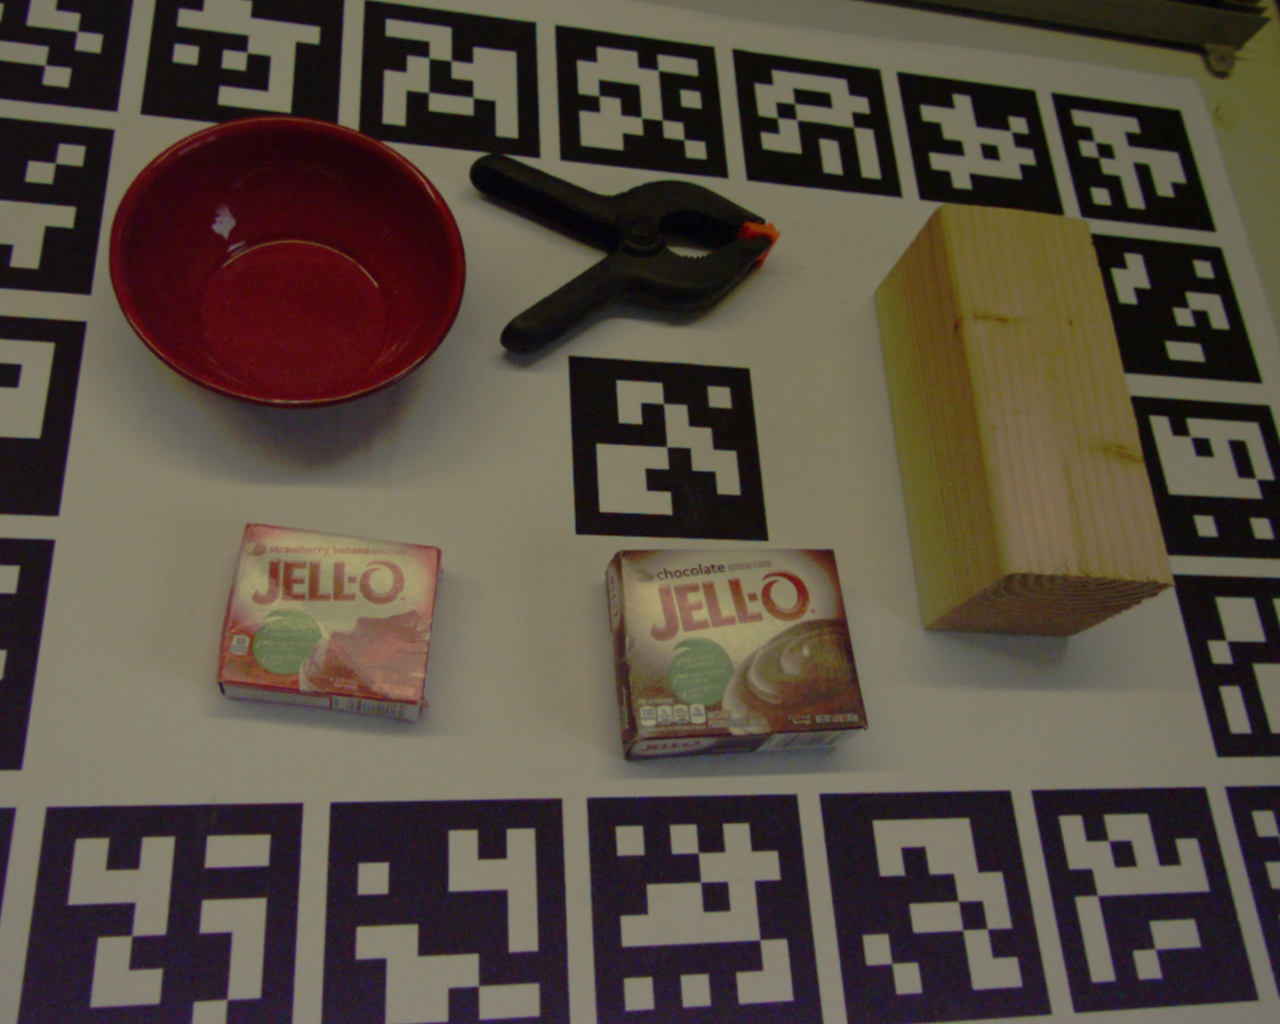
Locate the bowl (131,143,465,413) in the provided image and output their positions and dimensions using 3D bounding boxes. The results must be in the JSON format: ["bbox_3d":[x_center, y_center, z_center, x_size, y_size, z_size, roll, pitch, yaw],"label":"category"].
[{"bbox_3d":[-0.175,-0.109,0.592,0.160,0.055,0.162,5,70,-14],"label":"bowl"}]

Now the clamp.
[{"bbox_3d":[-0.024,-0.138,0.655,0.164,0.037,0.122,-8,70,-19],"label":"clamp"}]

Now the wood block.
[{"bbox_3d":[0.193,-0.042,0.630,0.089,0.091,0.207,5,67,-14],"label":"wood block"}]

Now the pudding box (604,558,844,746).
[{"bbox_3d":[0.040,0.070,0.575,0.113,0.039,0.090,1,72,-12],"label":"pudding box"}]

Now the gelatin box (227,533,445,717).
[{"bbox_3d":[-0.142,0.053,0.539,0.089,0.030,0.073,10,68,-10],"label":"gelatin box"}]
